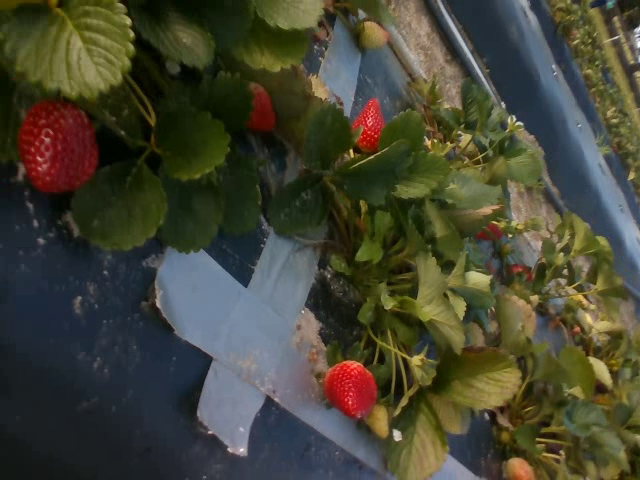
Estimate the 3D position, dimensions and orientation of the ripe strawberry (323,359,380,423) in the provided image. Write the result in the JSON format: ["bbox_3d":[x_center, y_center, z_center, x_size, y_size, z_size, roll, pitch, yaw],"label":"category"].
[{"bbox_3d":[0.012,0.051,0.196,0.023,0.021,0.026,39,20,-9],"label":"ripe strawberry"}]

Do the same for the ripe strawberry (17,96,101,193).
[{"bbox_3d":[-0.055,-0.018,0.126,0.018,0.023,0.020,27,-49,-23],"label":"ripe strawberry"}]
